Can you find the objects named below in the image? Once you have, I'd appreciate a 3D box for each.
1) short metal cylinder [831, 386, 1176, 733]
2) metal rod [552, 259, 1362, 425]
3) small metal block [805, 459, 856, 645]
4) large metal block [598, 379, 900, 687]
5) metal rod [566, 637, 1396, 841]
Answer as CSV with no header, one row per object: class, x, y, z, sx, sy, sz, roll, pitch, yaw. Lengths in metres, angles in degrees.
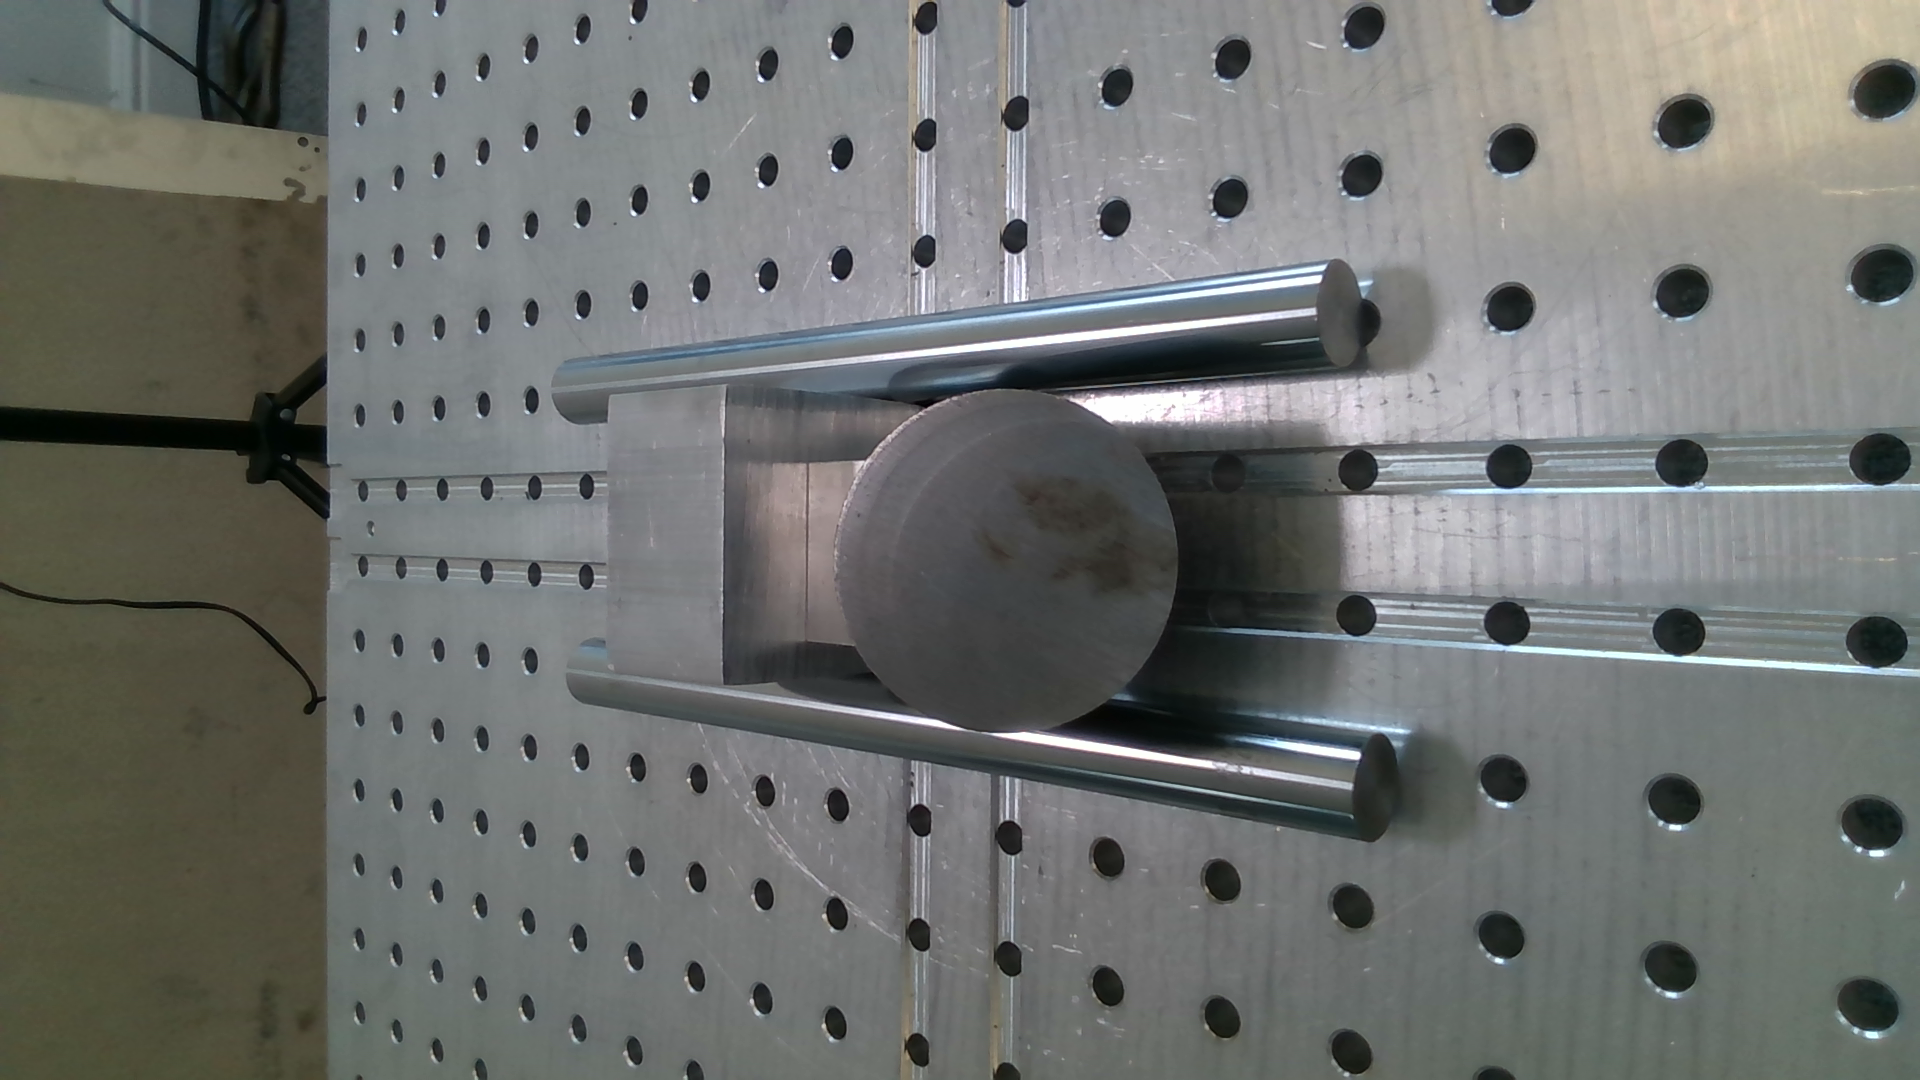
short metal cylinder,0.009,0.004,0.342,0.080,0.050,0.080,0,91,-4
metal rod,-0.027,-0.054,0.416,0.300,0.025,0.025,1,91,40
small metal block,-0.017,0.003,0.392,0.025,0.050,0.050,2,92,40
large metal block,-0.057,-0.002,0.403,0.050,0.080,0.080,1,91,40
metal rod,-0.020,0.052,0.411,0.300,0.025,0.025,2,92,40
